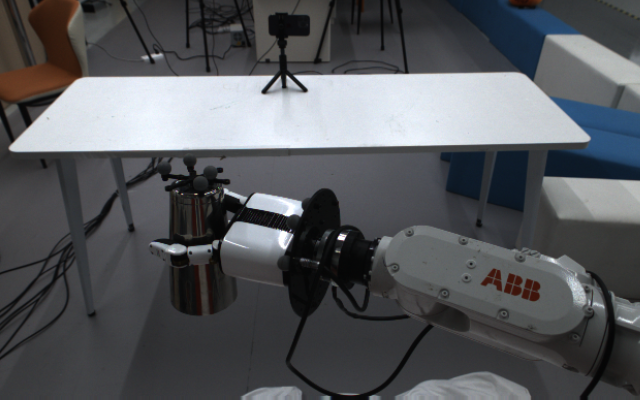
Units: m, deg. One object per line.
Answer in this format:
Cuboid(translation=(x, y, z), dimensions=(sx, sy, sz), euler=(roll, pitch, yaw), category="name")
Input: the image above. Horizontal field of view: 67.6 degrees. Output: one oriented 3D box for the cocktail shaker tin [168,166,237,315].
Cuboid(translation=(-0.158, 0.057, 0.644), dimensions=(0.093, 0.170, 0.093), euler=(2, 26, -1), category="cocktail shaker tin")
